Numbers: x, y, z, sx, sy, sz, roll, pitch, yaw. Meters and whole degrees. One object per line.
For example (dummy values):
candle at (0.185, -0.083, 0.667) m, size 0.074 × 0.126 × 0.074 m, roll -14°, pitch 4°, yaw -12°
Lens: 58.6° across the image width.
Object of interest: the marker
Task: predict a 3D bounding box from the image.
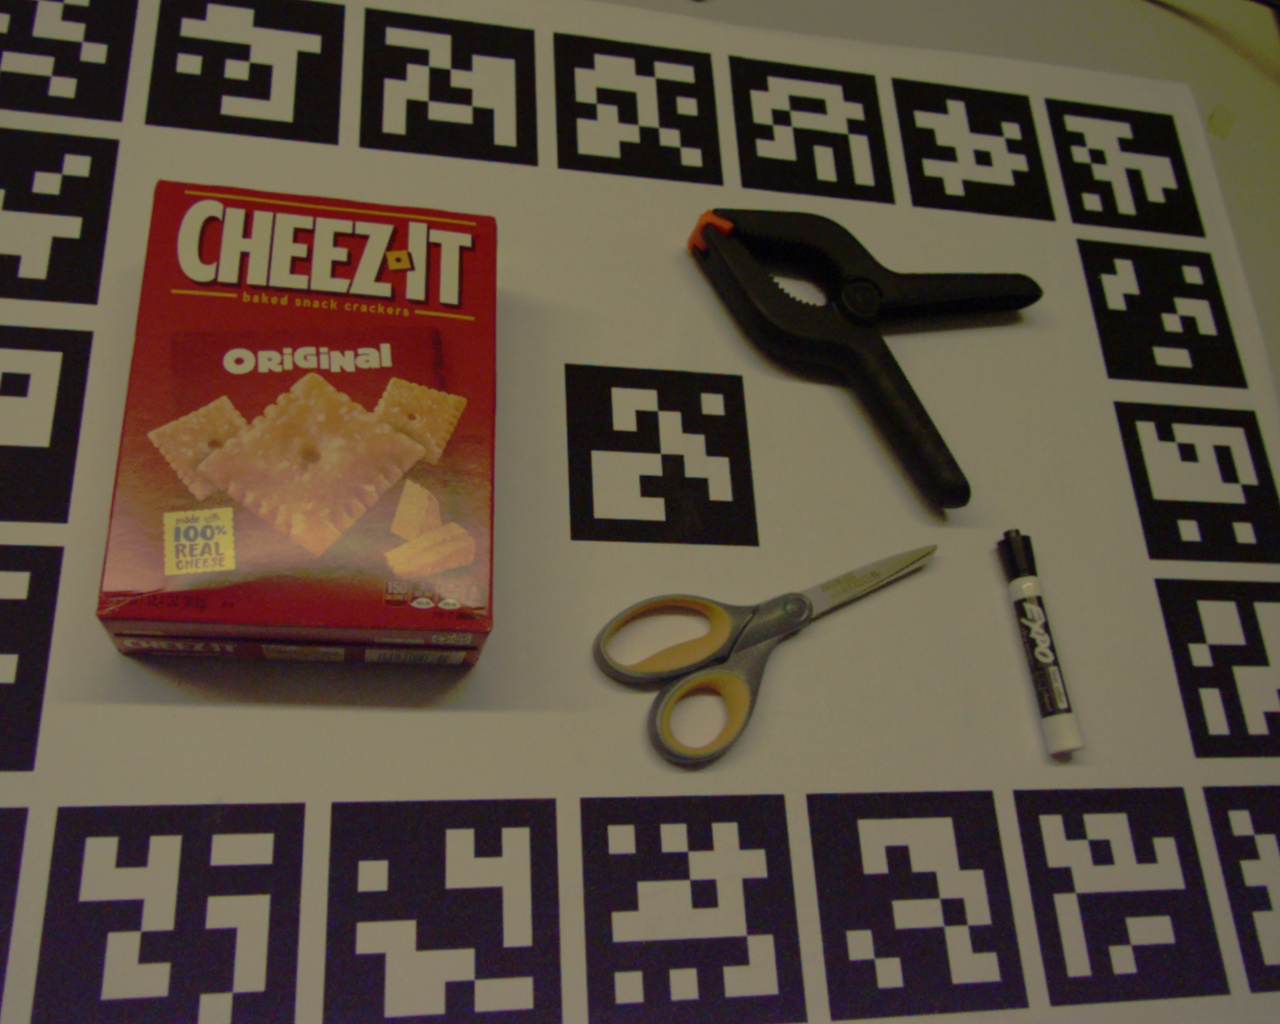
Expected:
marker at (0.207, 0.065, 0.642) m, size 0.019 × 0.020 × 0.121 m, roll -1°, pitch 68°, yaw -14°

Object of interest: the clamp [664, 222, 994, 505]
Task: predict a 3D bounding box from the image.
clamp at (0.106, -0.116, 0.698) m, size 0.203 × 0.037 × 0.165 m, roll 30°, pitch 63°, yaw -1°

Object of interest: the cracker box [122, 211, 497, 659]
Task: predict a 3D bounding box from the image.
cracker box at (-0.155, -0.039, 0.571) m, size 0.163 × 0.072 × 0.214 m, roll 3°, pitch 68°, yaw -12°

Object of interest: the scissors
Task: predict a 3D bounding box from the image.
scissors at (0.068, 0.055, 0.614) m, size 0.201 × 0.016 × 0.088 m, roll -27°, pitch 75°, yaw -24°
